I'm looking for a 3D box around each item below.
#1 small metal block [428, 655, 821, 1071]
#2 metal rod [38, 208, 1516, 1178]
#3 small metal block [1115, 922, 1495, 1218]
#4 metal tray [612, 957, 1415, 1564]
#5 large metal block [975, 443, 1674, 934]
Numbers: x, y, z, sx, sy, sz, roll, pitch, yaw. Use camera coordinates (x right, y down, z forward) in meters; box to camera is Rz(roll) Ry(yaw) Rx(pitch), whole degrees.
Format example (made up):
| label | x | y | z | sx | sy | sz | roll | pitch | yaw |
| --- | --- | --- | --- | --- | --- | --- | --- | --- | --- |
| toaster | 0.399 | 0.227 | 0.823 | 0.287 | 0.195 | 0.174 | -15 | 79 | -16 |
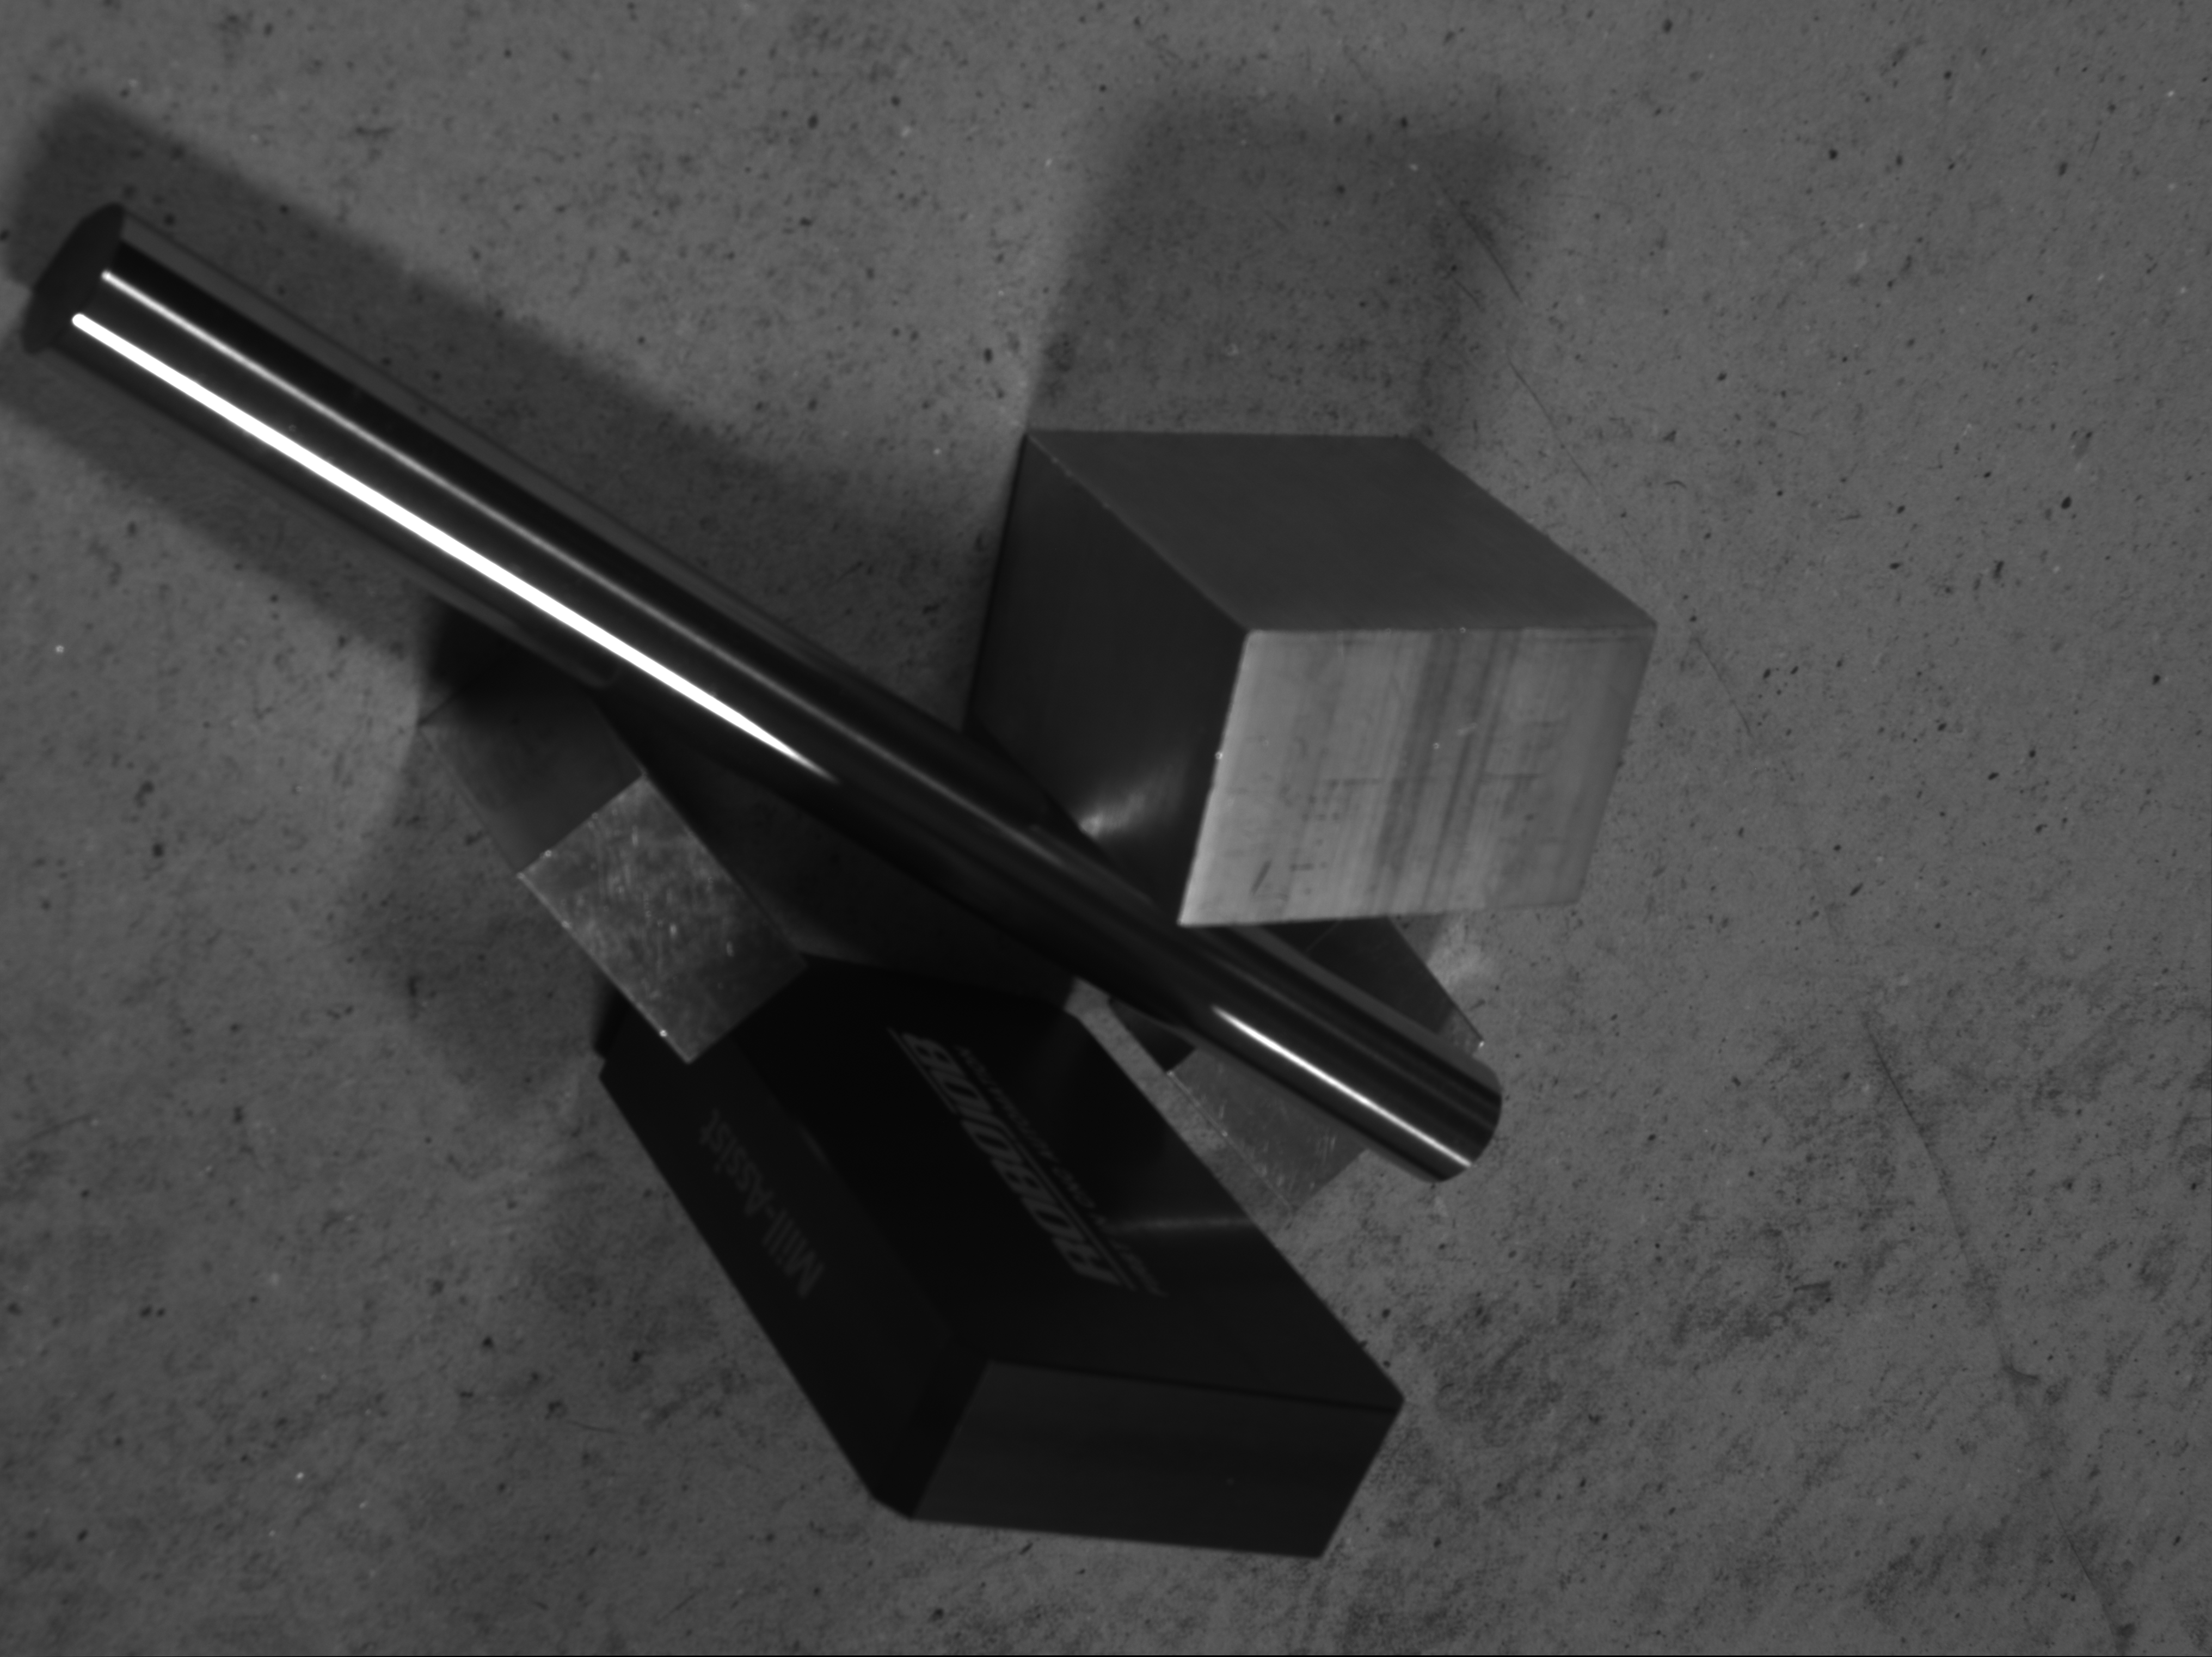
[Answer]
| label | x | y | z | sx | sy | sz | roll | pitch | yaw |
| --- | --- | --- | --- | --- | --- | --- | --- | --- | --- |
| small metal block | -0.078 | 0.004 | 0.591 | 0.025 | 0.050 | 0.050 | -39 | 130 | -4 |
| metal rod | -0.038 | -0.012 | 0.604 | 0.301 | 0.025 | 0.025 | 32 | 100 | -34 |
| small metal block | 0.038 | 0.038 | 0.697 | 0.050 | 0.025 | 0.050 | -41 | 130 | -2 |
| metal tray | -0.018 | 0.068 | 0.614 | 0.090 | 0.130 | 0.030 | 14 | 111 | -35 |
| large metal block | 0.035 | -0.025 | 0.618 | 0.080 | 0.080 | 0.050 | -2 | 119 | -29 |
